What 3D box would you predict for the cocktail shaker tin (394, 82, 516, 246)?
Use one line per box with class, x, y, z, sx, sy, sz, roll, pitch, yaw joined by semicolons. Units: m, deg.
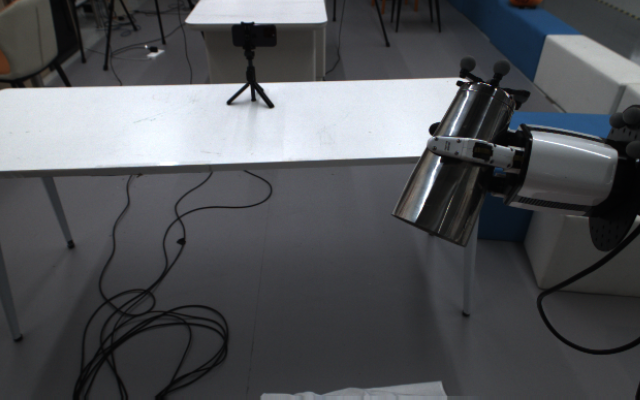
cocktail shaker tin;0.160;-0.045;0.553;0.093;0.170;0.093;23;0;0
